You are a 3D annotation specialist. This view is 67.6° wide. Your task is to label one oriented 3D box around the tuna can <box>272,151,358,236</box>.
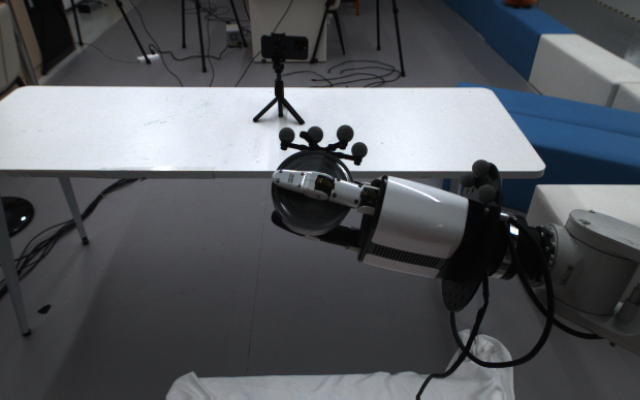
[{"bbox_3d":[-0.007,-0.009,0.506,0.085,0.034,0.085,1,72,-3],"label":"tuna can"}]
